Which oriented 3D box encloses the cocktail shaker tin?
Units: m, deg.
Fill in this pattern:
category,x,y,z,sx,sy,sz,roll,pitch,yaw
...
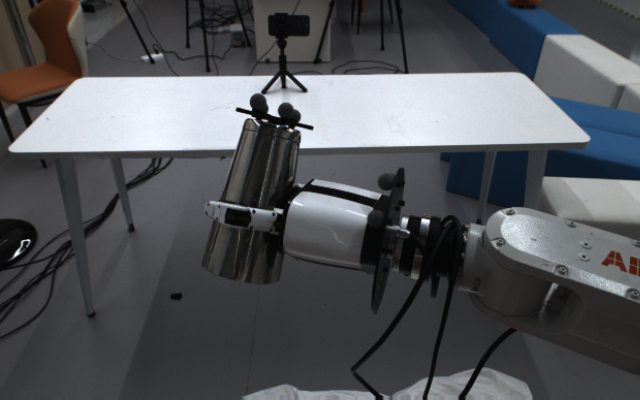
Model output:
category,x,y,z,sx,sy,sz,roll,pitch,yaw
cocktail shaker tin,-0.070,-0.001,0.552,0.093,0.170,0.093,13,4,-1
